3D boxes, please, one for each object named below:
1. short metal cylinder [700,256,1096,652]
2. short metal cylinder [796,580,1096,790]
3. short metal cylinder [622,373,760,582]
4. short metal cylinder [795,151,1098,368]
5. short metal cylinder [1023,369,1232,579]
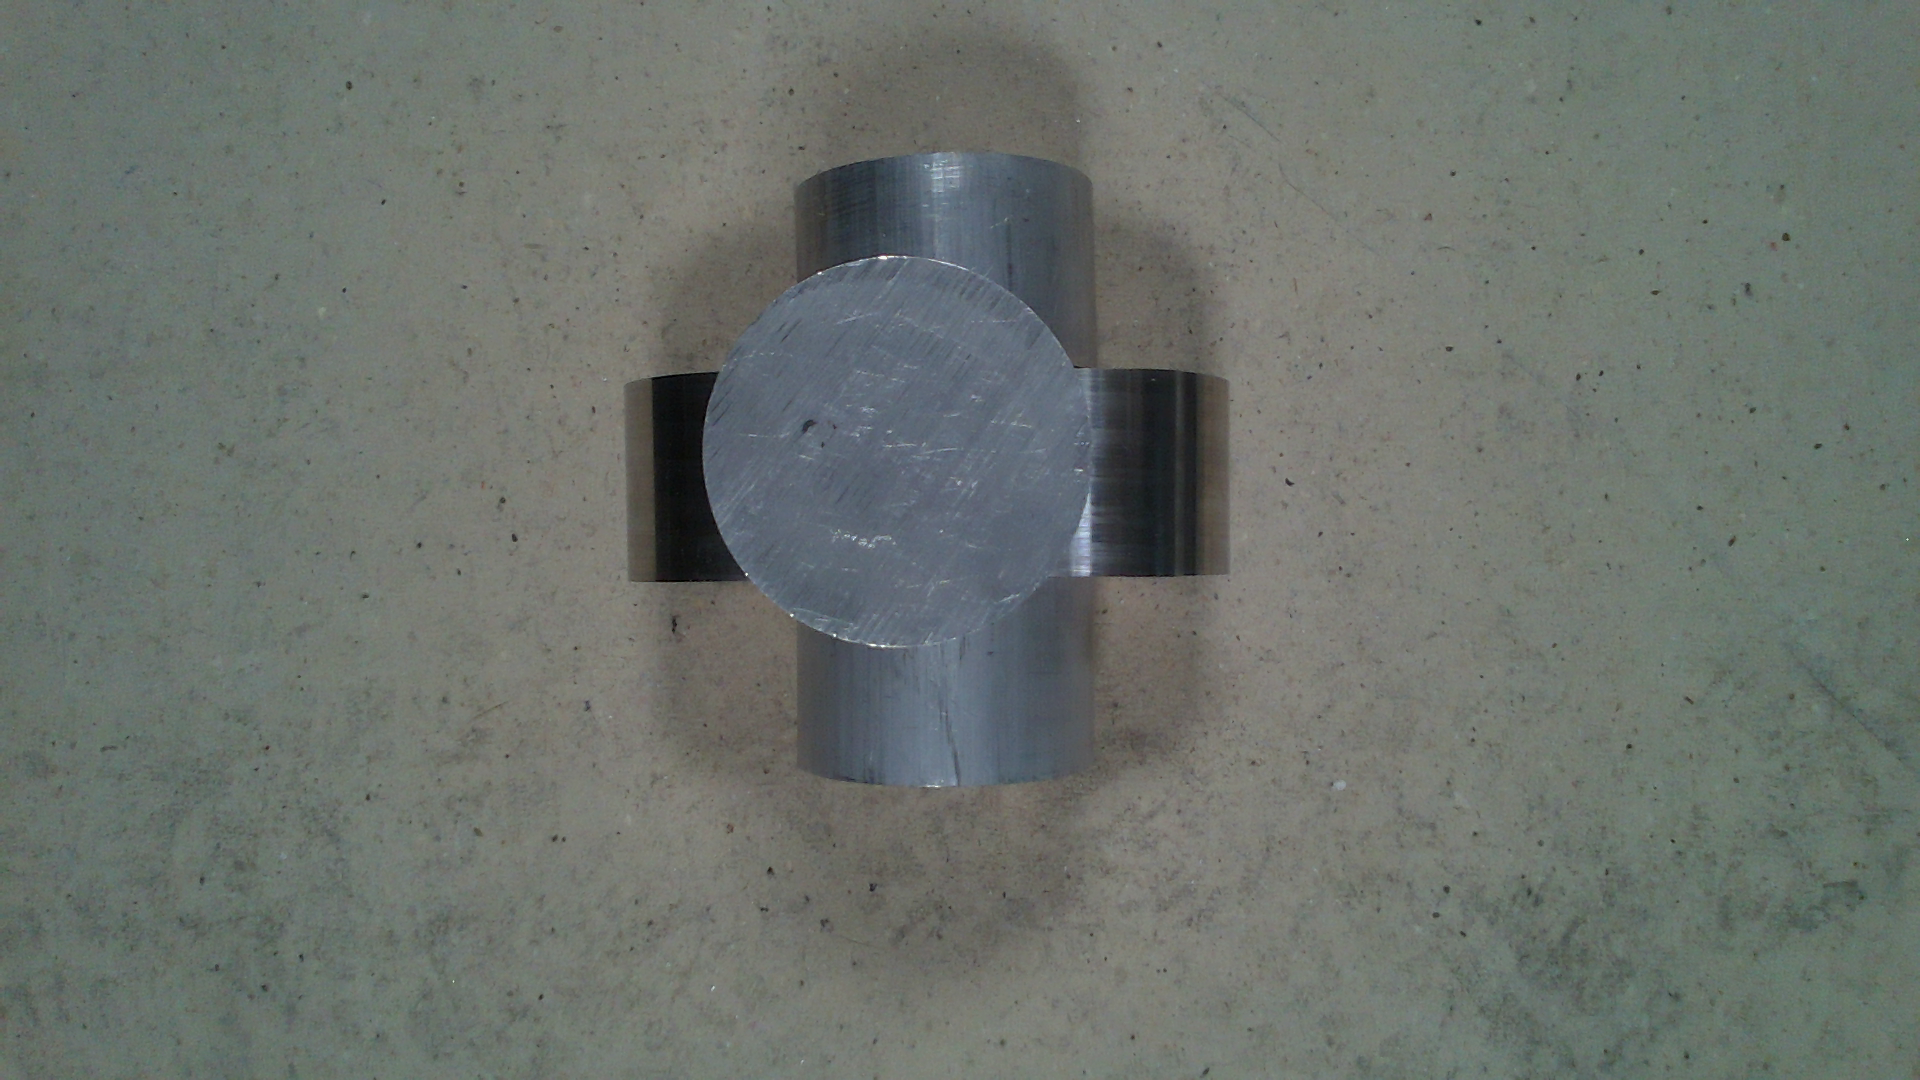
[{"bbox_3d":[-0.012,-0.017,0.302,0.080,0.050,0.080,0,90,0],"label":"short metal cylinder"},{"bbox_3d":[-0.004,0.035,0.368,0.080,0.080,0.050,0,90,0],"label":"short metal cylinder"},{"bbox_3d":[-0.049,-0.015,0.368,0.080,0.080,0.050,-1,90,0],"label":"short metal cylinder"},{"bbox_3d":[-0.004,-0.068,0.368,0.080,0.080,0.050,-2,90,0],"label":"short metal cylinder"},{"bbox_3d":[0.032,-0.016,0.368,0.080,0.080,0.050,-1,90,0],"label":"short metal cylinder"}]
